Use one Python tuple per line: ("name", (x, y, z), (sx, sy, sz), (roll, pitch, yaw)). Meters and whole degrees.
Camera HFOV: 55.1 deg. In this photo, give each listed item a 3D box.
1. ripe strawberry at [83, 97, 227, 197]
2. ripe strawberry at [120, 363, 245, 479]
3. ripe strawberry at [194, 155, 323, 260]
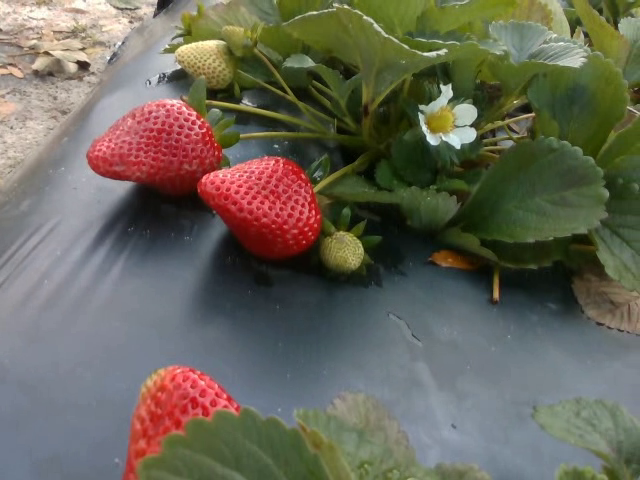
("ripe strawberry", (-0.083, -0.043, 0.286), (0.058, 0.044, 0.065), (-1, 20, 45))
("ripe strawberry", (-0.036, 0.050, 0.153), (0.047, 0.053, 0.039), (-31, -29, 2))
("ripe strawberry", (-0.029, -0.018, 0.256), (0.050, 0.051, 0.059), (-6, -14, 41))
